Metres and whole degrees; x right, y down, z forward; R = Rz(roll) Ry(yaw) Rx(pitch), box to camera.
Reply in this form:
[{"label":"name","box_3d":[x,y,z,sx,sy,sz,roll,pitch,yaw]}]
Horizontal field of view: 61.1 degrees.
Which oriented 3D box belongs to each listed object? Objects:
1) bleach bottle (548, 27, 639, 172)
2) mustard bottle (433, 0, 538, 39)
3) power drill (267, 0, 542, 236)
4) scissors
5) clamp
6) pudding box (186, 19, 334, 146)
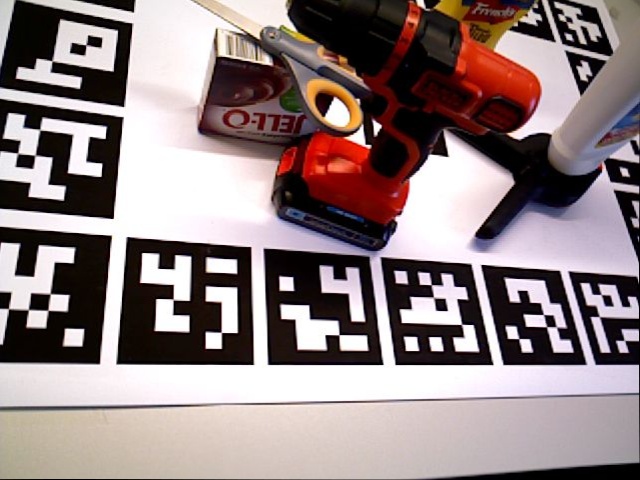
[{"label":"bleach bottle","box_3d":[0.303,-0.143,0.515,0.101,0.256,0.067,-16,67,-21]},{"label":"mustard bottle","box_3d":[0.175,-0.258,0.576,0.095,0.196,0.057,18,59,-14]},{"label":"power drill","box_3d":[0.034,-0.088,0.399,0.183,0.192,0.056,16,53,-11]},{"label":"scissors","box_3d":[-0.041,-0.170,0.425,0.202,0.016,0.086,30,62,-12]},{"label":"clamp","box_3d":[0.235,-0.086,0.587,0.200,0.037,0.164,-1,68,-24]},{"label":"pudding box","box_3d":[-0.055,-0.135,0.480,0.112,0.092,0.038,9,55,-18]}]
